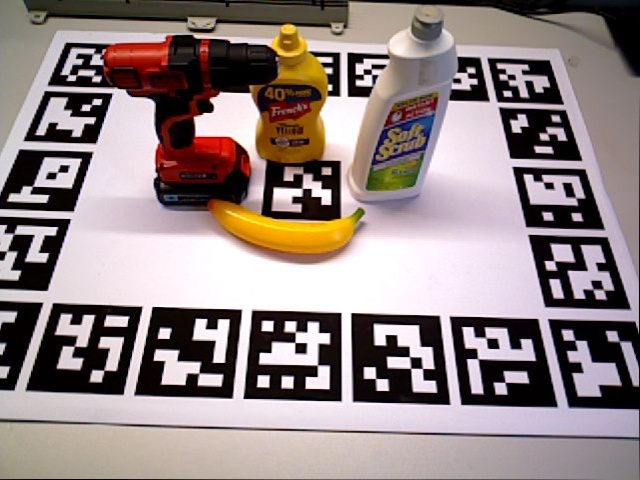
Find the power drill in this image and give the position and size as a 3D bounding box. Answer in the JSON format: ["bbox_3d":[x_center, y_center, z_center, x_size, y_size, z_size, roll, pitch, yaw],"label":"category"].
[{"bbox_3d":[-0.138,-0.138,0.609,0.183,0.191,0.056,1,51,-5],"label":"power drill"}]

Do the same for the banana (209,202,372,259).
[{"bbox_3d":[-0.038,-0.014,0.647,0.197,0.039,0.073,4,62,2],"label":"banana"}]

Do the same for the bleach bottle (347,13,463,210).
[{"bbox_3d":[0.093,-0.134,0.611,0.102,0.256,0.067,-5,59,-6],"label":"bleach bottle"}]

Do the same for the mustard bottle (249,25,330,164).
[{"bbox_3d":[-0.037,-0.175,0.657,0.096,0.195,0.057,3,57,-2],"label":"mustard bottle"}]
